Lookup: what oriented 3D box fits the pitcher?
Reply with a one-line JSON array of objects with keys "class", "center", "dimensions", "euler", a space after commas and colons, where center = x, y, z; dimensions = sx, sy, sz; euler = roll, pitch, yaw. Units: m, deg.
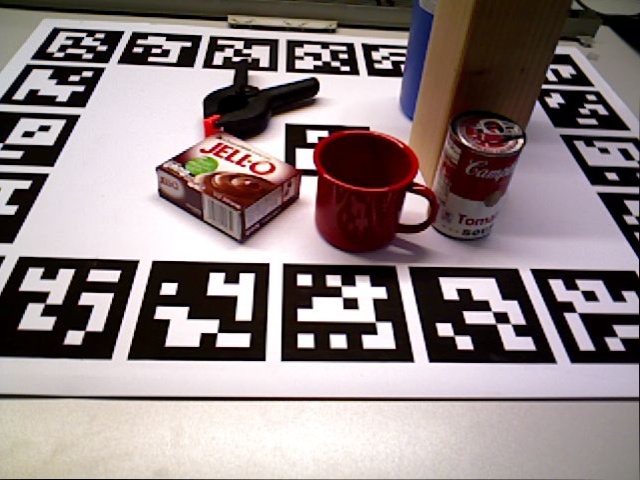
[{"class": "pitcher", "center": [0.177, -0.248, 0.589], "dimensions": [0.188, 0.248, 0.131], "euler": [0, 42, -1]}]

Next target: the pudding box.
[{"class": "pudding box", "center": [-0.102, -0.058, 0.524], "dimensions": [0.114, 0.039, 0.088], "euler": [29, 52, 25]}]

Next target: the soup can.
[{"class": "soup can", "center": [0.134, -0.055, 0.487], "dimensions": [0.067, 0.104, 0.067], "euler": [2, 46, -3]}]

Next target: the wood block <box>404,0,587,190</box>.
[{"class": "wood block", "center": [0.154, -0.154, 0.514], "dimensions": [0.089, 0.211, 0.089], "euler": [3, 44, -8]}]

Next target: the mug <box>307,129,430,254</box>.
[{"class": "mug", "center": [0.041, -0.037, 0.478], "dimensions": [0.117, 0.083, 0.091], "euler": [28, 46, 24]}]

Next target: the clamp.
[{"class": "clamp", "center": [-0.083, -0.163, 0.642], "dimensions": [0.122, 0.037, 0.161], "euler": [28, 49, 13]}]
